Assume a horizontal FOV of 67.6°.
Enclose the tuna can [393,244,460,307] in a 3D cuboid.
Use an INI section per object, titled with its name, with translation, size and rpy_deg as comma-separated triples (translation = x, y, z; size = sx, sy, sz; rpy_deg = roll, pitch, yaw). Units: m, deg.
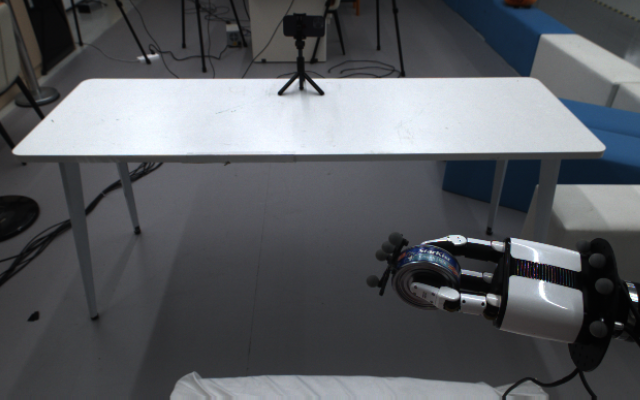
[tuna can]
translation = 0.139, 0.097, 0.621
size = 0.085, 0.085, 0.034
rpy_deg = 9, 34, 9
